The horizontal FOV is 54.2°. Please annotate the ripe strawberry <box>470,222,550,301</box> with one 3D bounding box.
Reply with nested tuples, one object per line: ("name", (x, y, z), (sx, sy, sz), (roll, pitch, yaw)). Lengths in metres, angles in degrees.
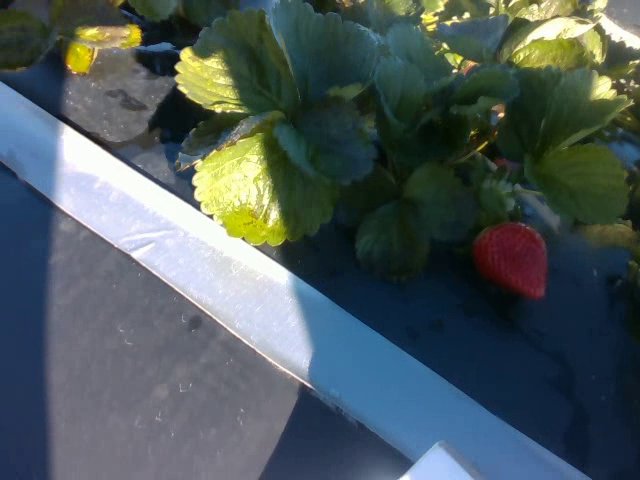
("ripe strawberry", (0.108, 0.013, 0.342), (0.045, 0.059, 0.042), (-23, -40, 13))
